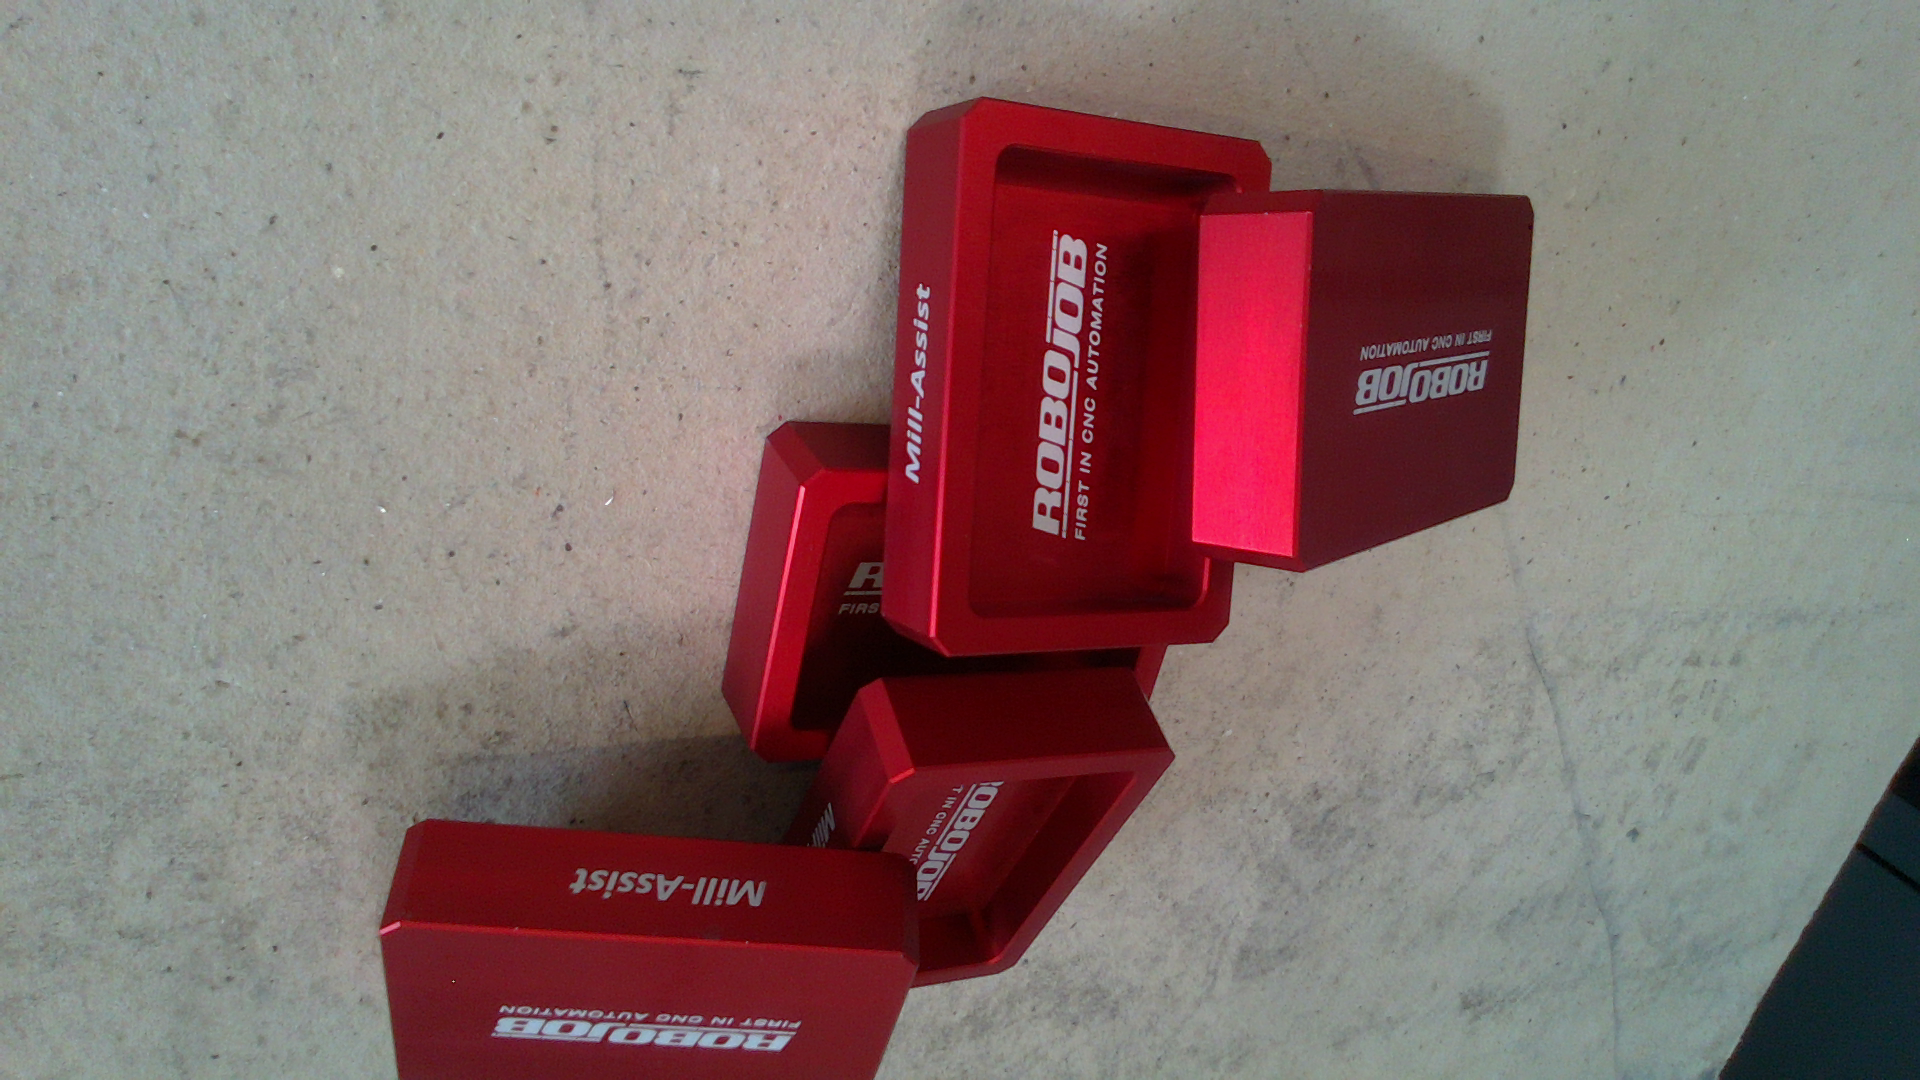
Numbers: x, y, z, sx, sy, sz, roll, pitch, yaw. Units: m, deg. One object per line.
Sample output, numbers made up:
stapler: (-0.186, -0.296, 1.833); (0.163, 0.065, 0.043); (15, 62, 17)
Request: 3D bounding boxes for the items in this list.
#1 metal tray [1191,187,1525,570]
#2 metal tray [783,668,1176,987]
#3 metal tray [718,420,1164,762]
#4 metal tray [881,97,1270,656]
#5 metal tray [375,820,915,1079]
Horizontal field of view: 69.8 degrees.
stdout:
metal tray: (0.112, -0.048, 0.377); (0.131, 0.030, 0.090); (-14, 107, -46)
metal tray: (-0.004, 0.091, 0.414); (0.090, 0.030, 0.130); (1, 137, -29)
metal tray: (0.003, 0.015, 0.397); (0.130, 0.030, 0.090); (0, 119, -28)
metal tray: (0.030, -0.039, 0.353); (0.090, 0.030, 0.130); (-1, 99, -28)
metal tray: (-0.084, 0.118, 0.375); (0.130, 0.030, 0.090); (6, 133, -12)
